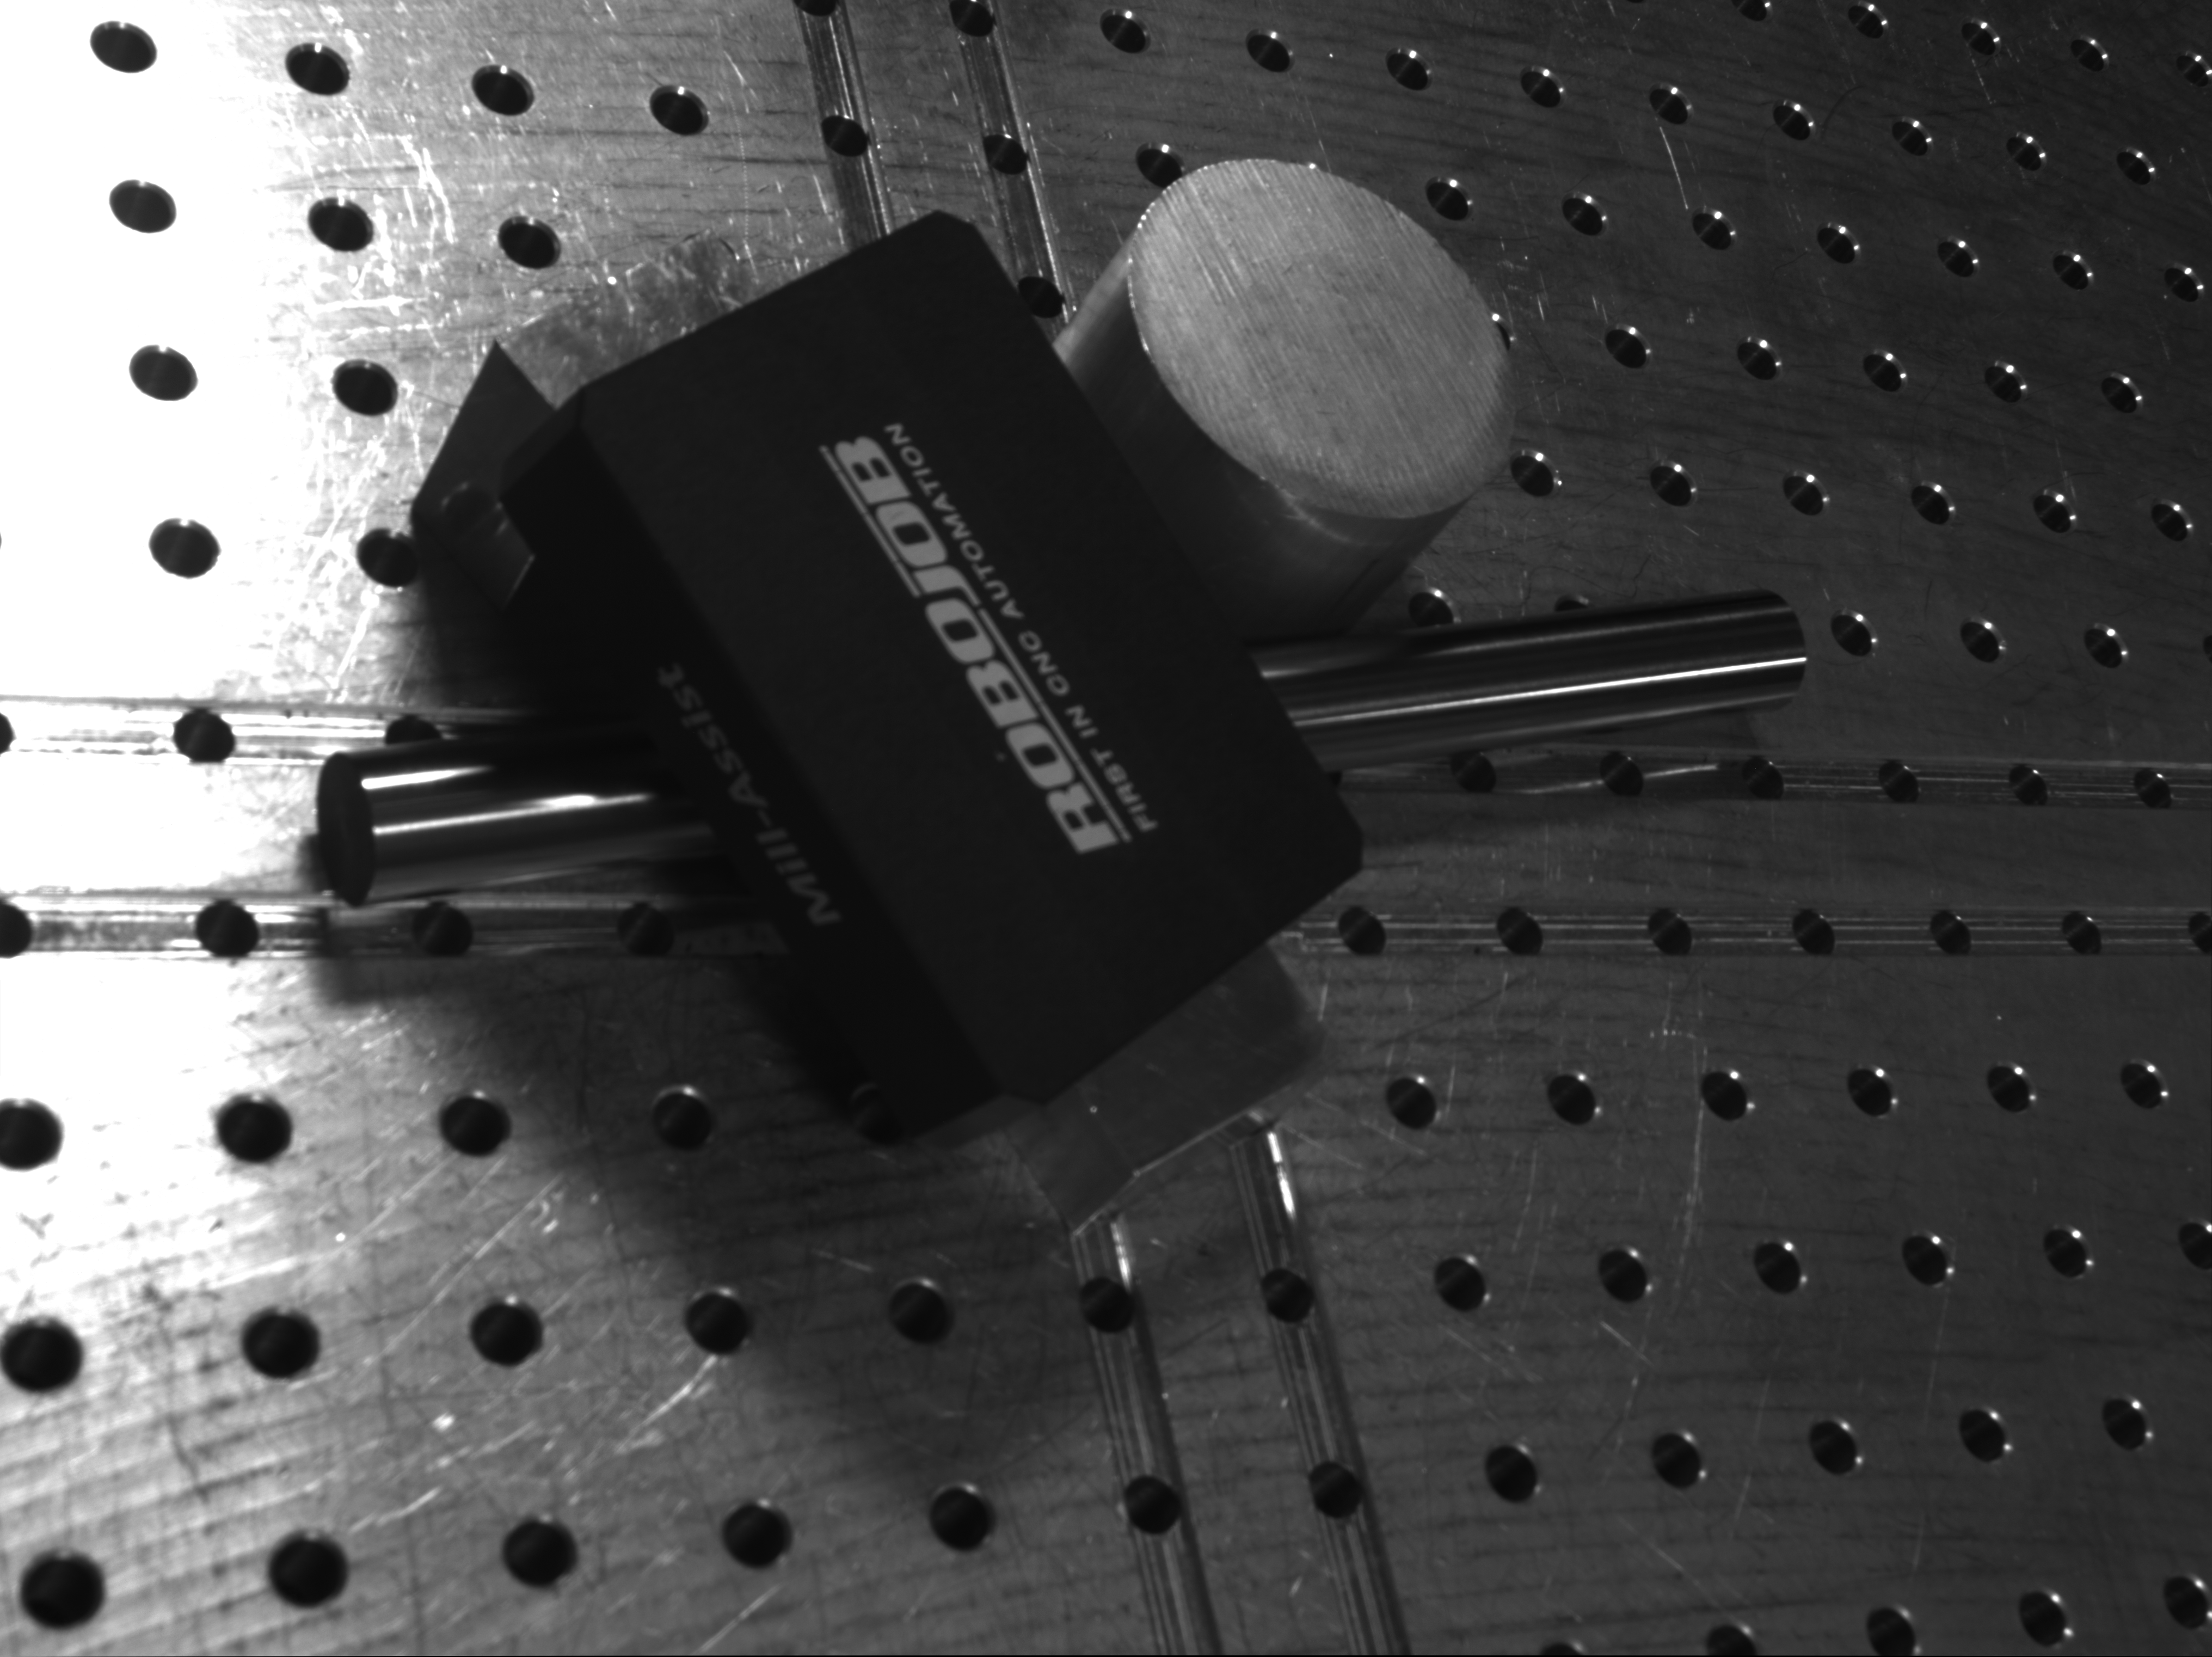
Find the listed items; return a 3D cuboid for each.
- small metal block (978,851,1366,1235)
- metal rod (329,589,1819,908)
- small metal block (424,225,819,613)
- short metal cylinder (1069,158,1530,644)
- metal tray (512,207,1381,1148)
[{"bbox_3d":[0.007,0.033,0.625,0.050,0.025,0.050,-26,76,-37],"label":"small metal block"},{"bbox_3d":[0.008,-0.018,0.658,0.301,0.025,0.025,-8,66,-32],"label":"metal rod"},{"bbox_3d":[-0.083,-0.070,0.624,0.025,0.050,0.050,49,51,6],"label":"small metal block"},{"bbox_3d":[0.033,-0.079,0.692,0.080,0.050,0.080,14,56,-21],"label":"short metal cylinder"},{"bbox_3d":[-0.024,-0.026,0.593,0.090,0.030,0.130,-34,92,-38],"label":"metal tray"}]
